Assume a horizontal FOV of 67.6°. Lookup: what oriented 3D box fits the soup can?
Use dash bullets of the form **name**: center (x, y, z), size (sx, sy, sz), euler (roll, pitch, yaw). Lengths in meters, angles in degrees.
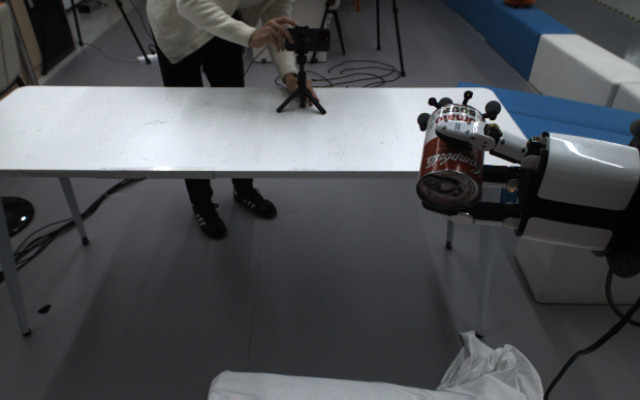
- **soup can**: center (0.148, -0.050, 0.538), size (0.067, 0.067, 0.101), euler (9, 56, 10)
